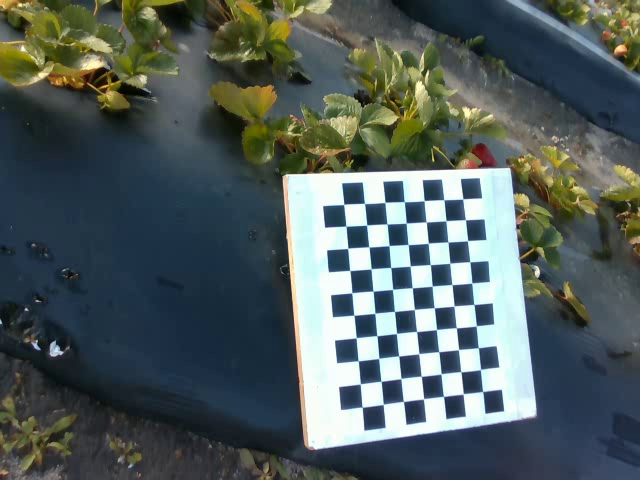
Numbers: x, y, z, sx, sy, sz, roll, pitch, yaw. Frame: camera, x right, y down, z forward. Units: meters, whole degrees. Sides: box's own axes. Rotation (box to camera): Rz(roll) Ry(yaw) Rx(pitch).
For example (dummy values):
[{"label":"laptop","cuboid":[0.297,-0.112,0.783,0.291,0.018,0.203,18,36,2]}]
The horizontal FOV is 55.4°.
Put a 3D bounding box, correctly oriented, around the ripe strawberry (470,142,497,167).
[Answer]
[{"label":"ripe strawberry","cuboid":[0.301,-0.151,1.102,0.064,0.049,0.050,38,-13,-6]}]
